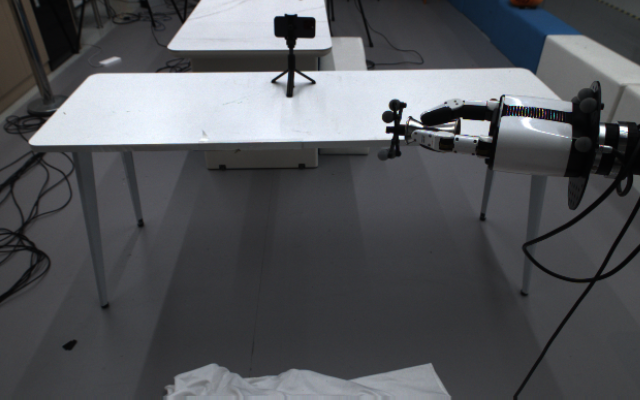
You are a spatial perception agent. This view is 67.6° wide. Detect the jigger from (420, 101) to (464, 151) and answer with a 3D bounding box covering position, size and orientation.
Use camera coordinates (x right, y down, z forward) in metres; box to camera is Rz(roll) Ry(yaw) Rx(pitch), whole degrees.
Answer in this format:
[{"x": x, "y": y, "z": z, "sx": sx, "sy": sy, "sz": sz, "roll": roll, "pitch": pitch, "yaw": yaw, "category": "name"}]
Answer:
[{"x": 0.159, "y": -0.096, "z": 0.662, "sx": 0.071, "sy": 0.043, "sz": 0.043, "roll": 8, "pitch": 34, "yaw": 23, "category": "jigger"}]
